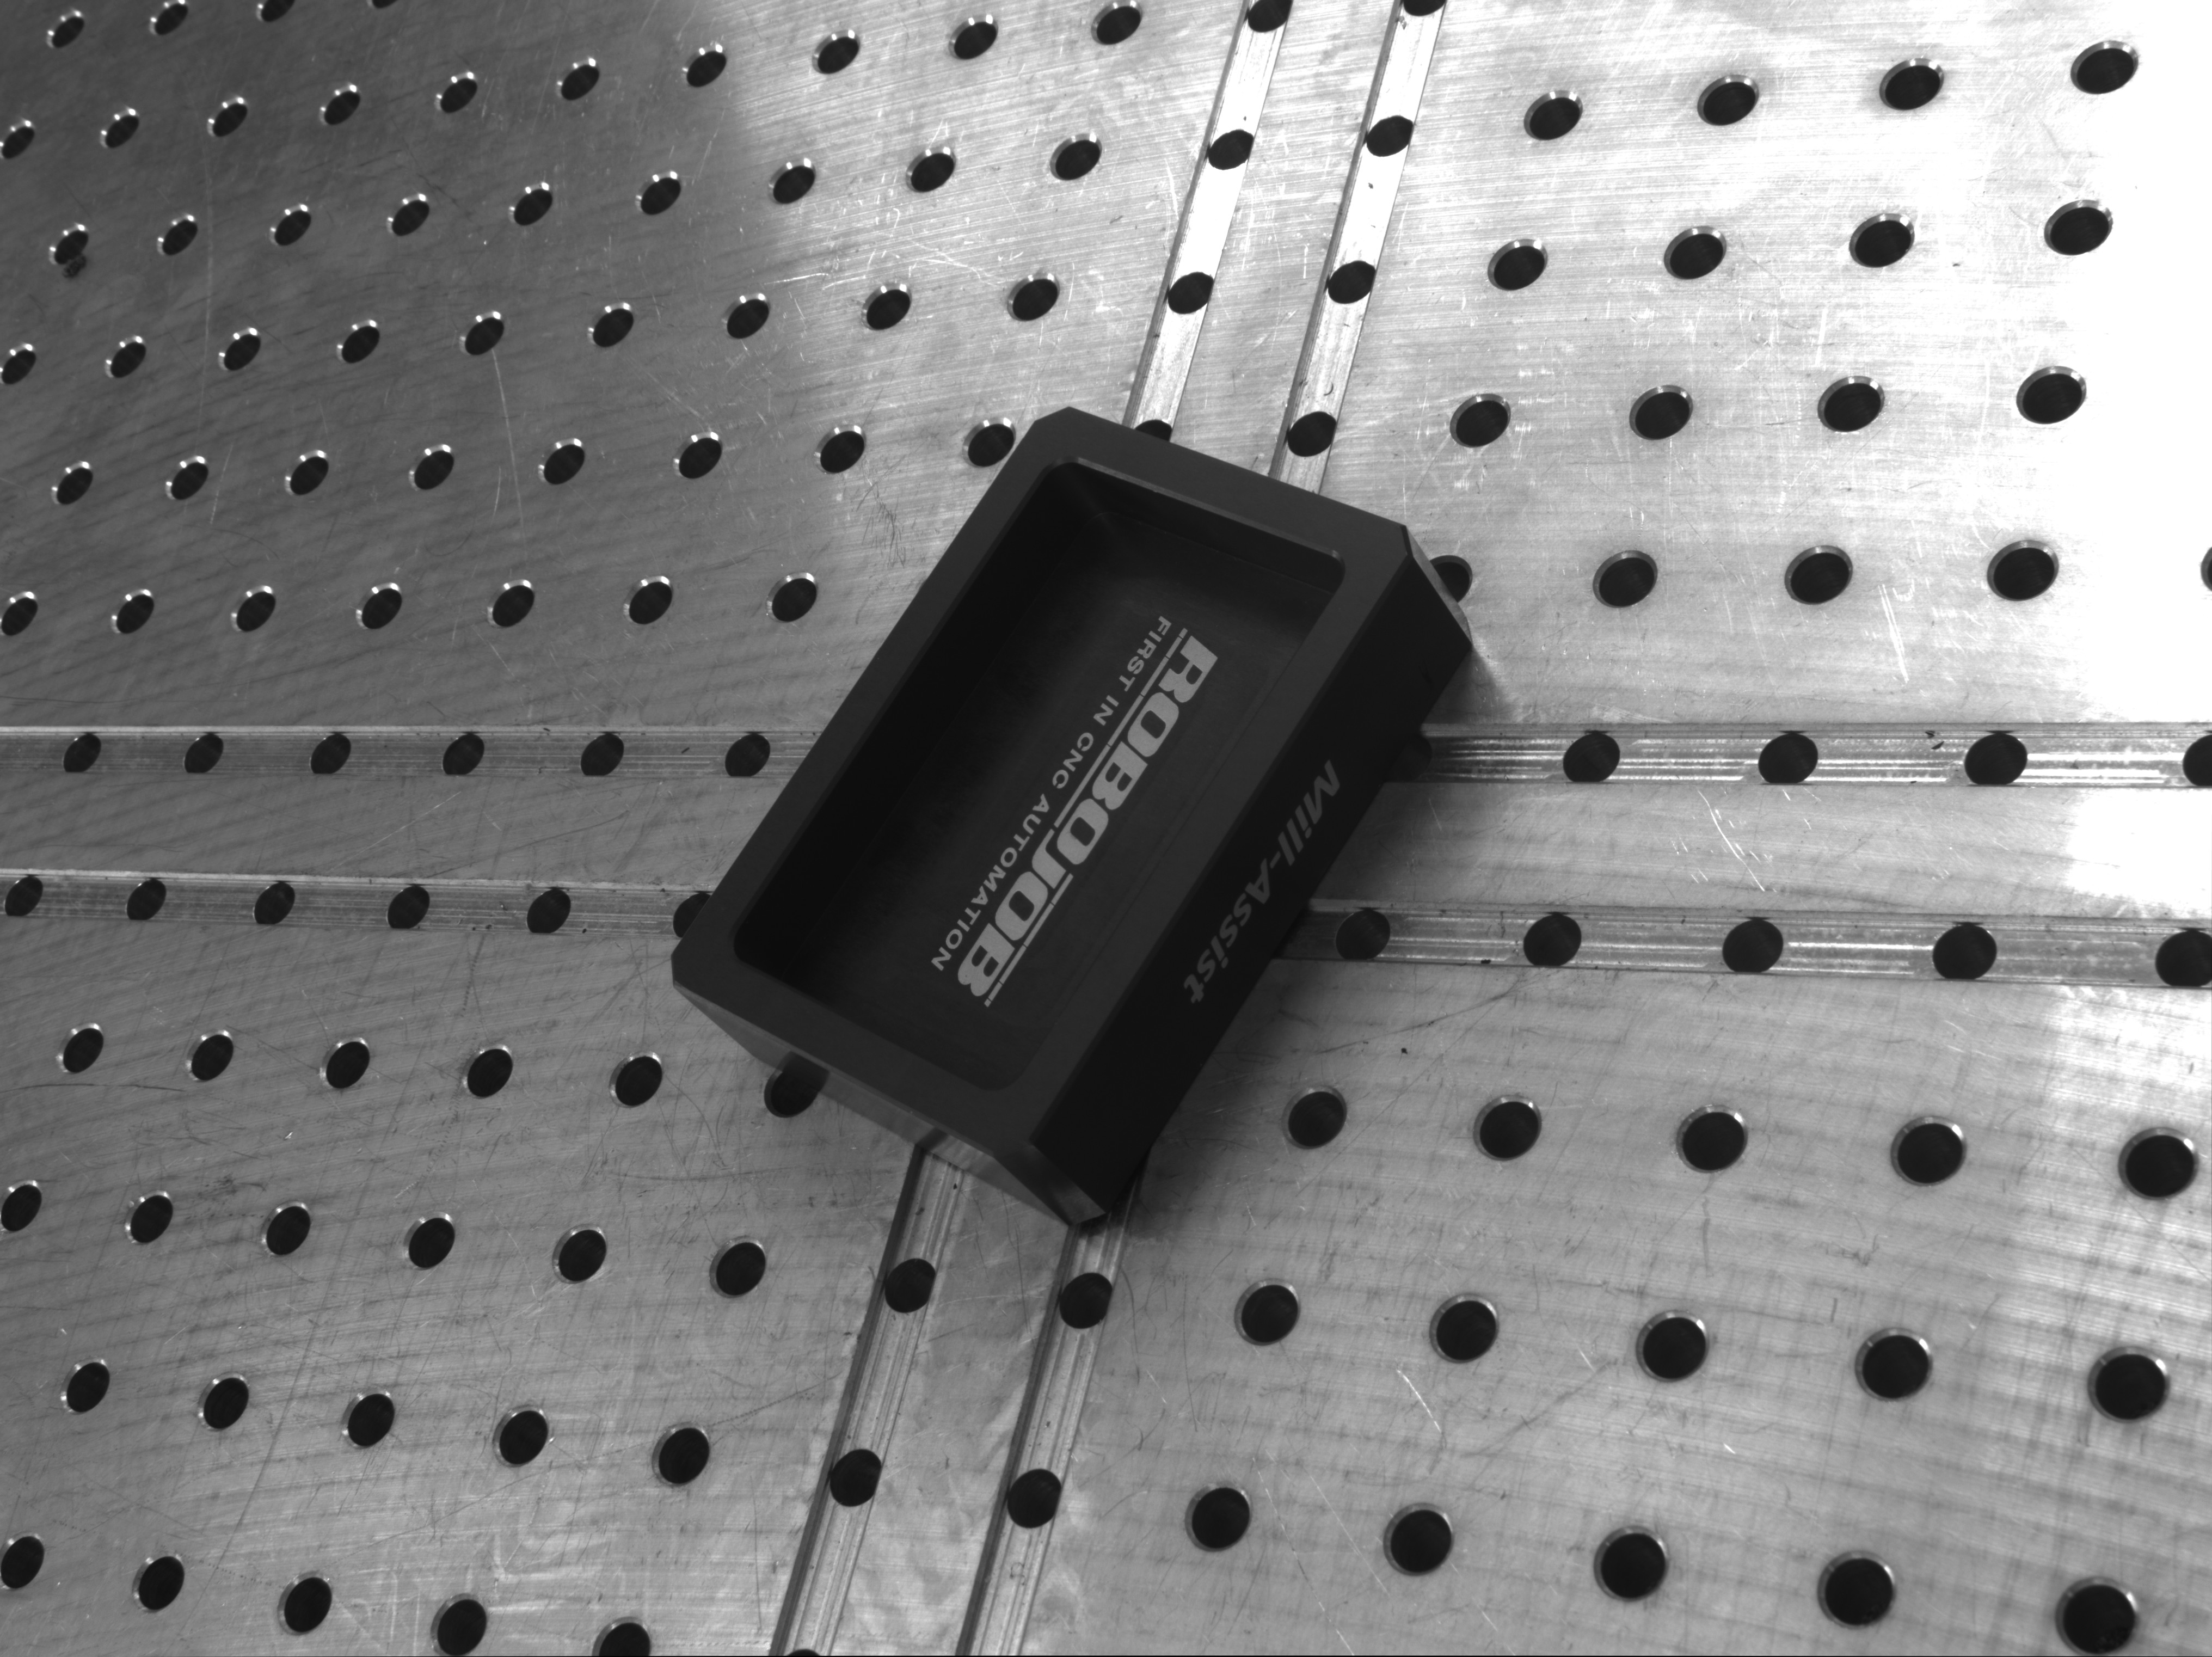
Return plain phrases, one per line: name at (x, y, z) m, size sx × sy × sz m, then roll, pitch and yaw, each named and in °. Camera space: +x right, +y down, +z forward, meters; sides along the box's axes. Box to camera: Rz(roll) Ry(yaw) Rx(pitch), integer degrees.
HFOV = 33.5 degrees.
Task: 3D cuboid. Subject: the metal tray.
metal tray at (-0.007, -0.005, 0.652) m, size 0.090 × 0.030 × 0.130 m, roll 24°, pitch 75°, yaw 36°
